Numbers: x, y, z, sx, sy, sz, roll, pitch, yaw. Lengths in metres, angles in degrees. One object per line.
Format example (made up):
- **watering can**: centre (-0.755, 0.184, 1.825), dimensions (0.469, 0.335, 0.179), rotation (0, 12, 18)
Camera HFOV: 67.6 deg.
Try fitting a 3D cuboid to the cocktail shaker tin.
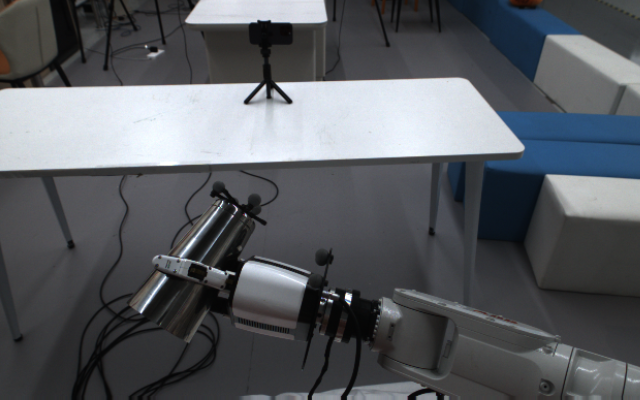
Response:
- **cocktail shaker tin**: centre (-0.158, 0.082, 0.627), dimensions (0.093, 0.093, 0.170), rotation (22, 67, 26)
